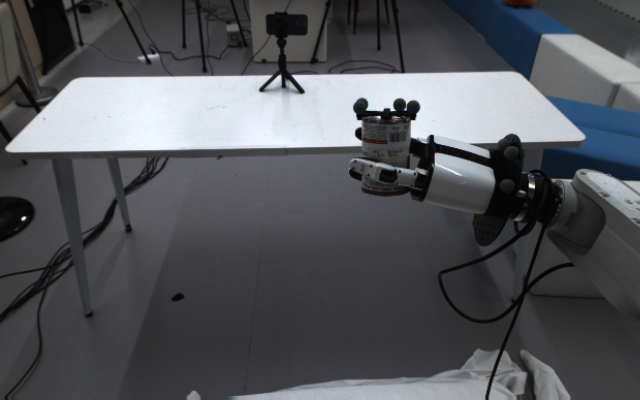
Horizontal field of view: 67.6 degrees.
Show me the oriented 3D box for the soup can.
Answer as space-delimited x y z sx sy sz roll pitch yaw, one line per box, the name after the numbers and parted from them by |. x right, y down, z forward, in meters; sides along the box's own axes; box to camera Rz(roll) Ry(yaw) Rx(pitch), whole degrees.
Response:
0.092 -0.063 0.663 0.067 0.101 0.067 -1 17 0 | soup can
